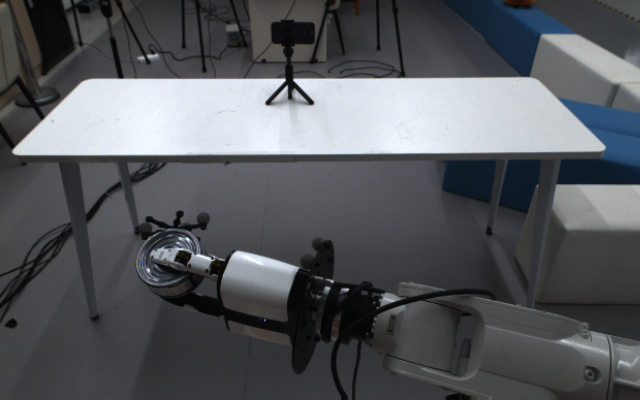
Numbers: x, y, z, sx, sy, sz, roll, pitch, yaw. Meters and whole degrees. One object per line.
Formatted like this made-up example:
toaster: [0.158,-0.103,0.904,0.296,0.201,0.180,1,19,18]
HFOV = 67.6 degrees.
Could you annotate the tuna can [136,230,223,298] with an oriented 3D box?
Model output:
tuna can: [-0.185,0.086,0.618,0.085,0.034,0.085,-3,59,5]
